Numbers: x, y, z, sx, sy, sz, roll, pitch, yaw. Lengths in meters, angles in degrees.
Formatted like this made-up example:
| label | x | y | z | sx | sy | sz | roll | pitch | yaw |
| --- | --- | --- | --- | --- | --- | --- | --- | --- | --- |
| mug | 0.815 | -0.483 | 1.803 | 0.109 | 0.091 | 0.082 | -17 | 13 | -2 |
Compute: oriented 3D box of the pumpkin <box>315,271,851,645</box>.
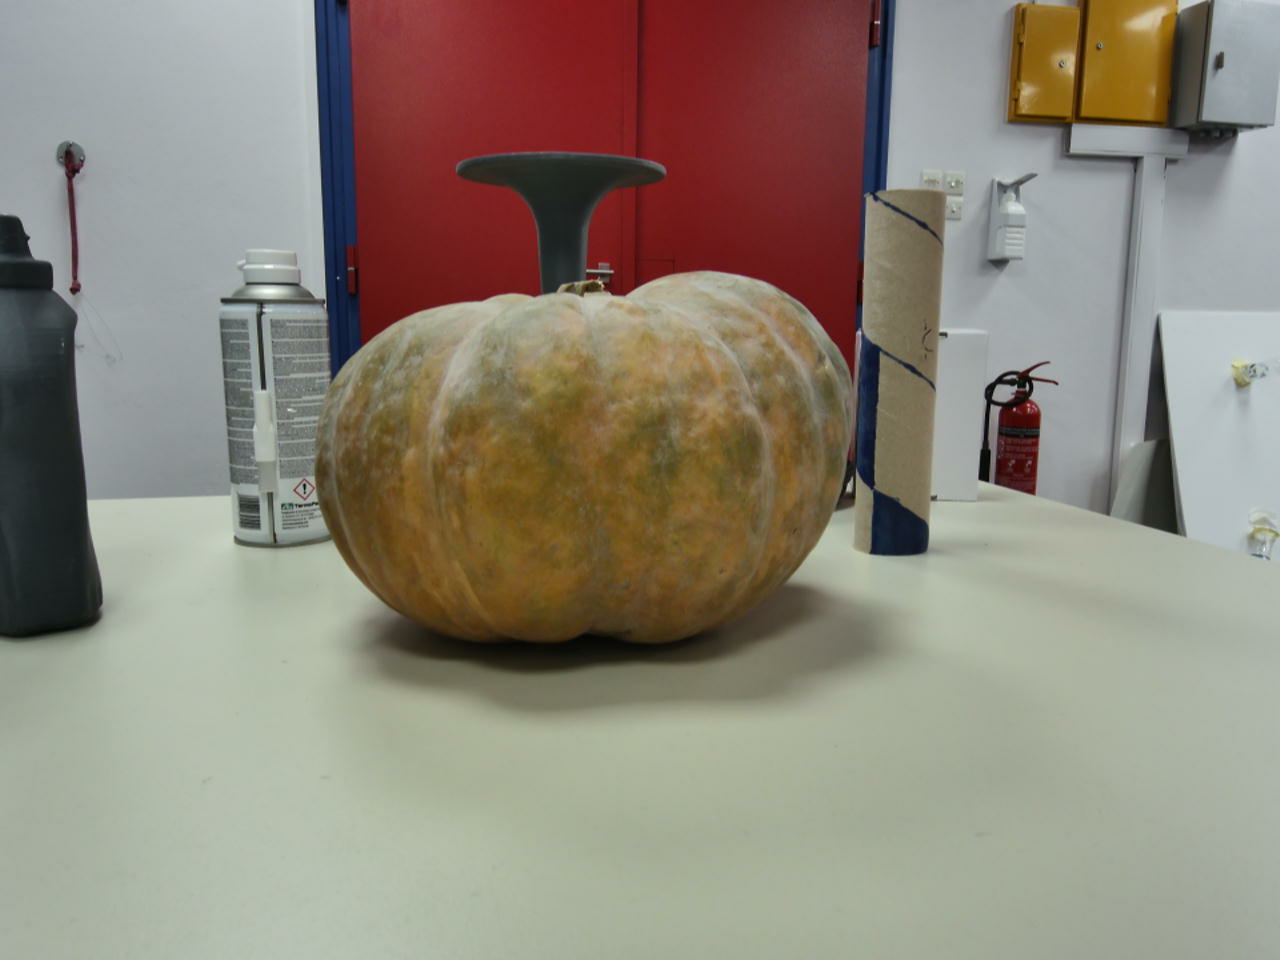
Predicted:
| label | x | y | z | sx | sy | sz | roll | pitch | yaw |
| --- | --- | --- | --- | --- | --- | --- | --- | --- | --- |
| pumpkin | -0.028 | -0.014 | 0.479 | 0.252 | 0.168 | 0.252 | 0 | 7 | 0 |
